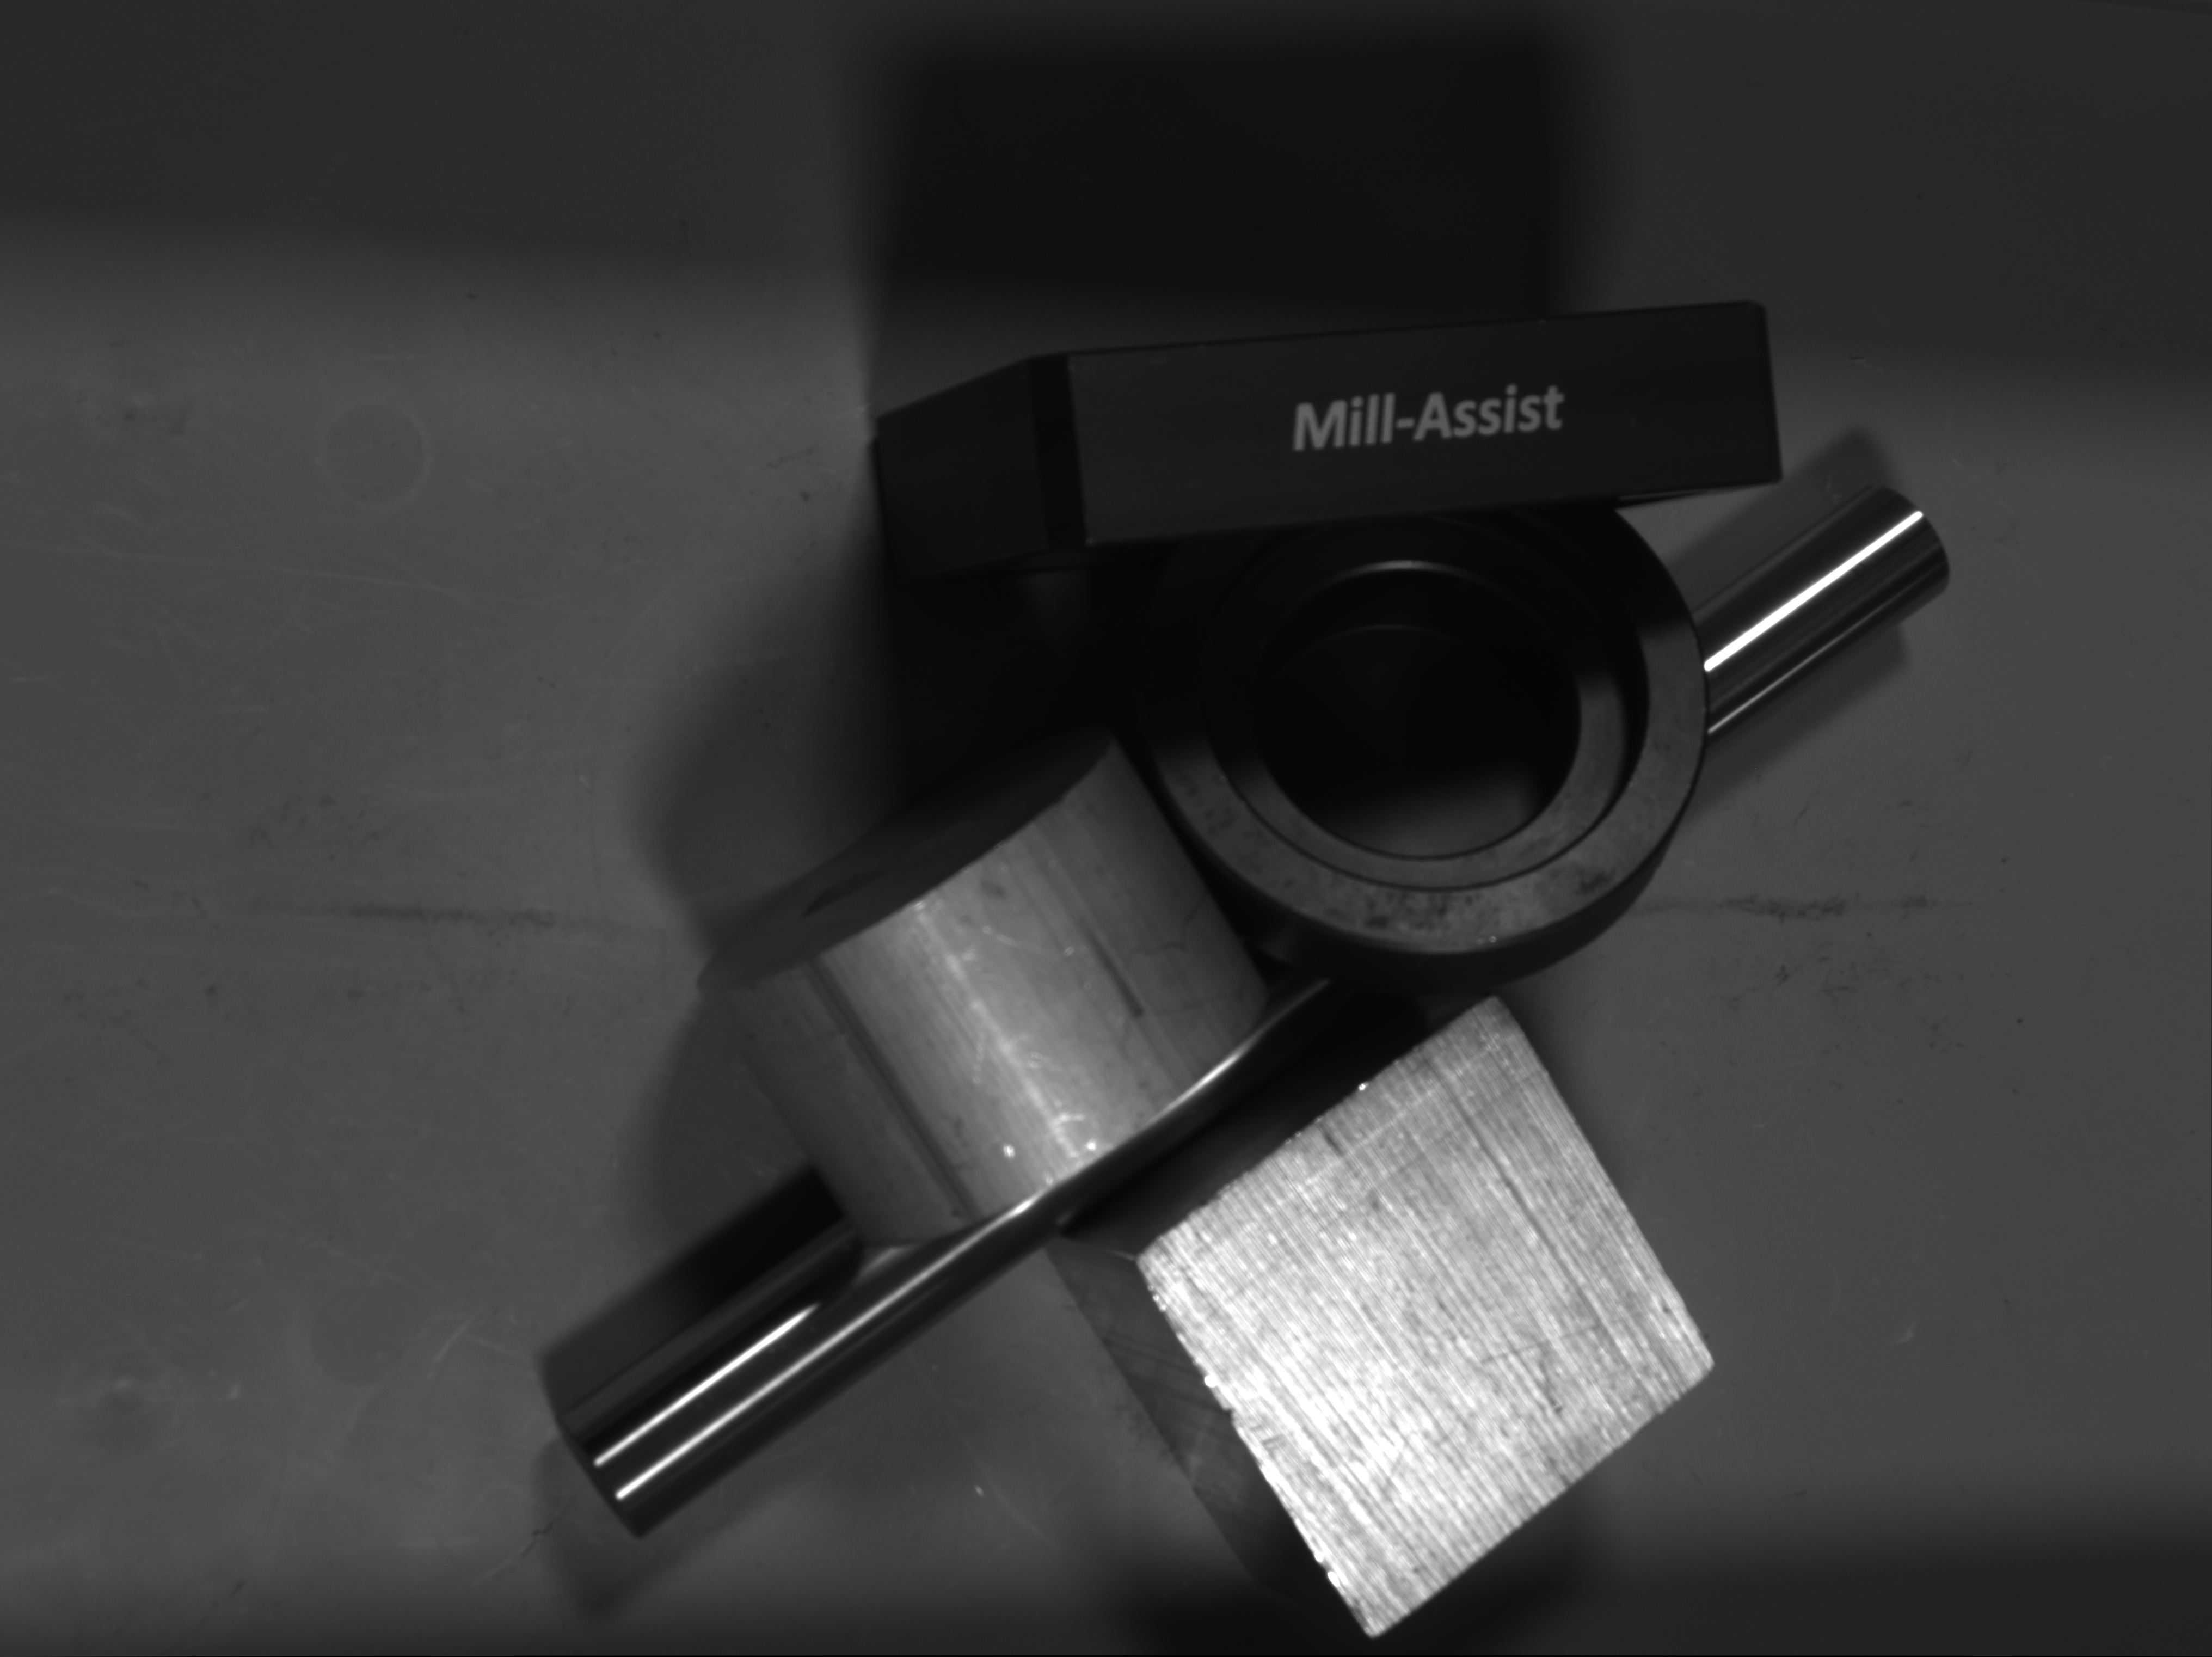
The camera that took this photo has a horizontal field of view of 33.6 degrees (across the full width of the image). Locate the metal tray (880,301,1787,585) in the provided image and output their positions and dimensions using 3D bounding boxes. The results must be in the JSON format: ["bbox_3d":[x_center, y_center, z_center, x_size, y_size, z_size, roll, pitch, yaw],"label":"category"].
[{"bbox_3d":[0.037,-0.065,0.620,0.130,0.090,0.030,-7,92,-20],"label":"metal tray"}]

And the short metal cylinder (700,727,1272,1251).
[{"bbox_3d":[-0.020,0.026,0.606,0.080,0.080,0.050,-35,101,-16],"label":"short metal cylinder"}]

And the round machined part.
[{"bbox_3d":[0.053,-0.016,0.638,0.098,0.042,0.098,1,66,-3],"label":"round machined part"}]

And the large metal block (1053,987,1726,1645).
[{"bbox_3d":[0.048,0.082,0.645,0.080,0.050,0.080,-34,101,-17],"label":"large metal block"}]

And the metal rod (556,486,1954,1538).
[{"bbox_3d":[0.034,0.027,0.654,0.300,0.025,0.025,-34,101,-17],"label":"metal rod"}]
